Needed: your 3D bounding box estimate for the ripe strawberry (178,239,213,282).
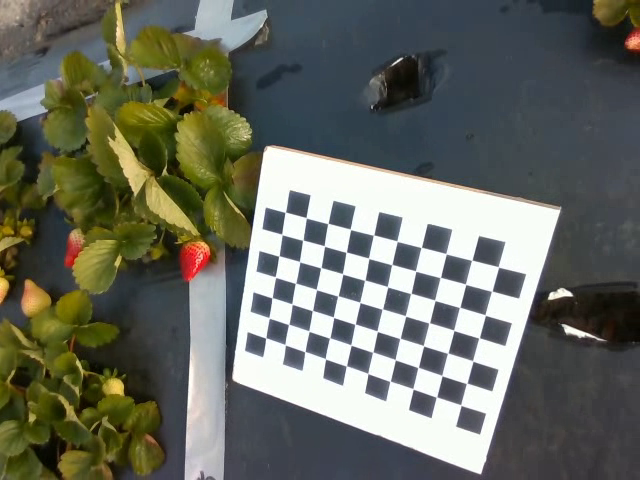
[{"bbox_3d":[-0.134,0.024,0.590,0.050,0.055,0.035,7,-5,12],"label":"ripe strawberry"}]
